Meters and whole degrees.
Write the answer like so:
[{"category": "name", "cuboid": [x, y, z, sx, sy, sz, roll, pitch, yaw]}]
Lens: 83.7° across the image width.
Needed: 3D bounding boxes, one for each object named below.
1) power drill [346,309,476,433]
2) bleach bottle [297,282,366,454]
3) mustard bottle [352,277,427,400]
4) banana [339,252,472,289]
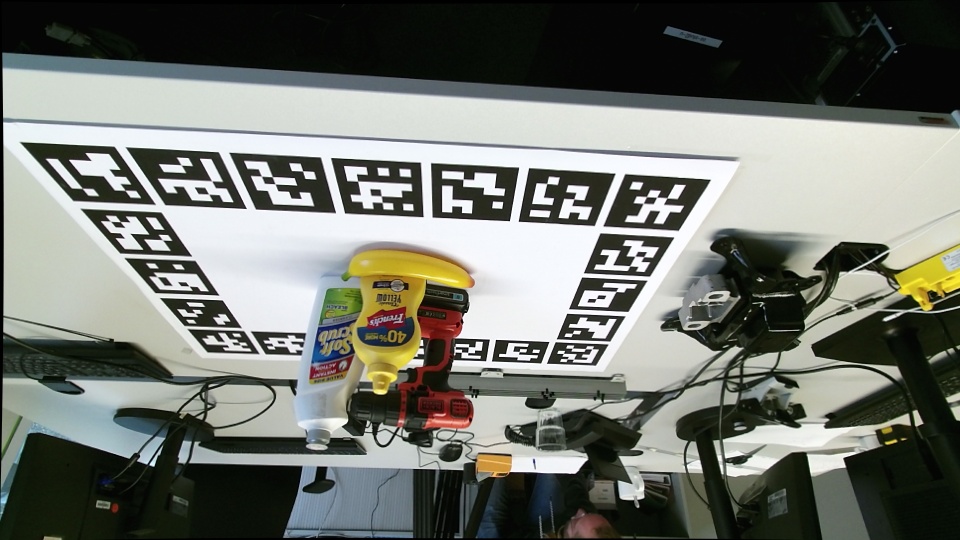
[{"category": "power drill", "cuboid": [-0.095, 0.150, 0.807, 0.185, 0.186, 0.057, 11, 144, -12]}, {"category": "bleach bottle", "cuboid": [-0.205, 0.141, 0.789, 0.103, 0.249, 0.068, 4, 150, -5]}, {"category": "mustard bottle", "cuboid": [-0.130, 0.091, 0.759, 0.096, 0.190, 0.058, 3, 144, -2]}, {"category": "banana", "cuboid": [-0.108, 0.005, 0.786, 0.198, 0.038, 0.074, 4, 143, -8]}]
